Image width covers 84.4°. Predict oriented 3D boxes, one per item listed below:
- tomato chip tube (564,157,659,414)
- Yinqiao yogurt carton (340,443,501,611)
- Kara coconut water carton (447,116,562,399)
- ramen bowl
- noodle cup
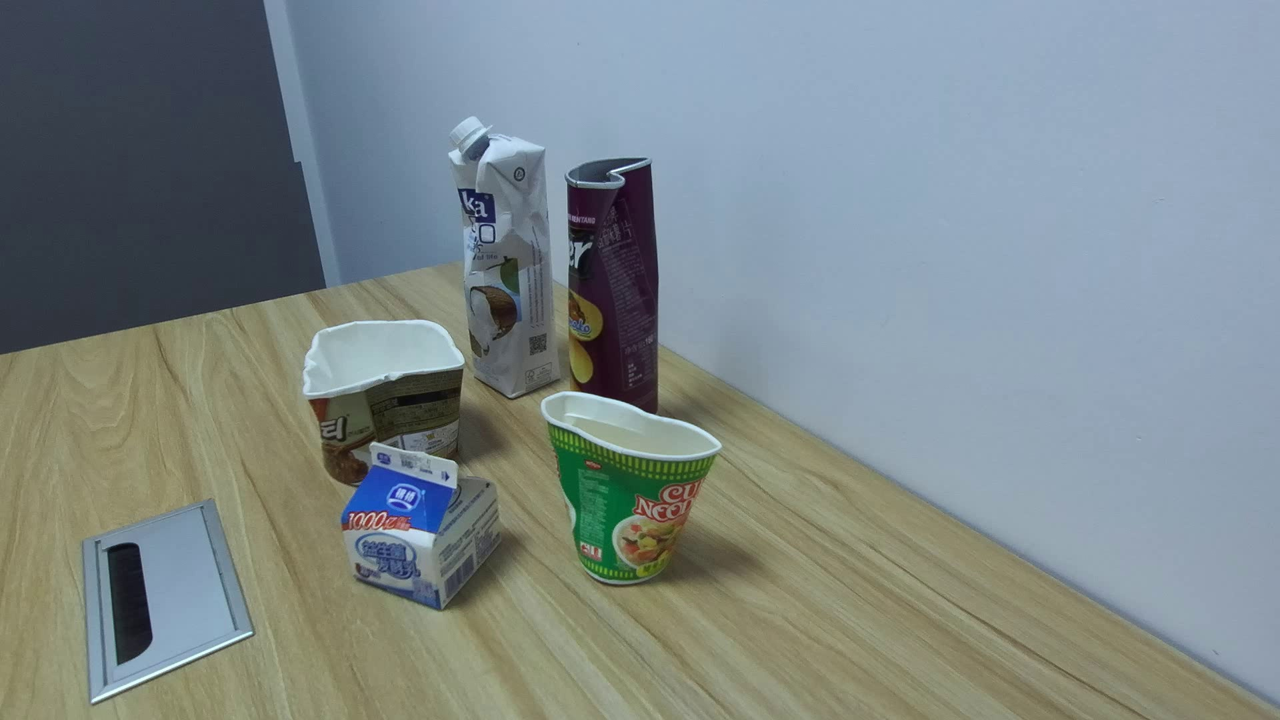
[{"bbox_3d":[-0.019,-0.033,0.562,0.078,0.235,0.076,-6,28,-13],"label":"tomato chip tube"},{"bbox_3d":[-0.145,0.098,0.467,0.075,0.092,0.074,11,29,19],"label":"Yinqiao yogurt carton"},{"bbox_3d":[-0.126,-0.094,0.656,0.079,0.256,0.083,-17,32,-27],"label":"Kara coconut water carton"},{"bbox_3d":[-0.217,0.029,0.591,0.114,0.097,0.133,-18,34,-28],"label":"ramen bowl"},{"bbox_3d":[-0.011,0.084,0.469,0.070,0.111,0.114,-23,36,-33],"label":"noodle cup"}]
